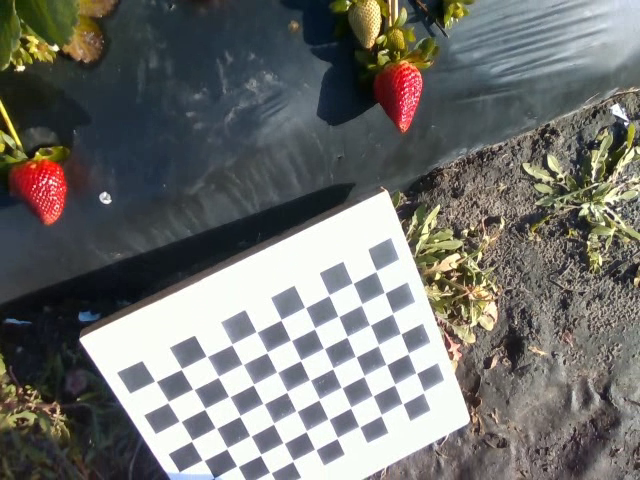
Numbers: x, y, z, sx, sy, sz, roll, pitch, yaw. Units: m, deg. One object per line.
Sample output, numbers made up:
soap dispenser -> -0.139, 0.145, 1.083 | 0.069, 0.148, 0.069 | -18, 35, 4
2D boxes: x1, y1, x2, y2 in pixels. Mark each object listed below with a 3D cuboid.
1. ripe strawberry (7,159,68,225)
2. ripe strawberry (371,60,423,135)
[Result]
ripe strawberry -> -0.200, -0.033, 0.449 | 0.045, 0.055, 0.042 | -20, -10, -13
ripe strawberry -> 0.056, -0.104, 0.463 | 0.042, 0.059, 0.042 | -6, 8, -18
